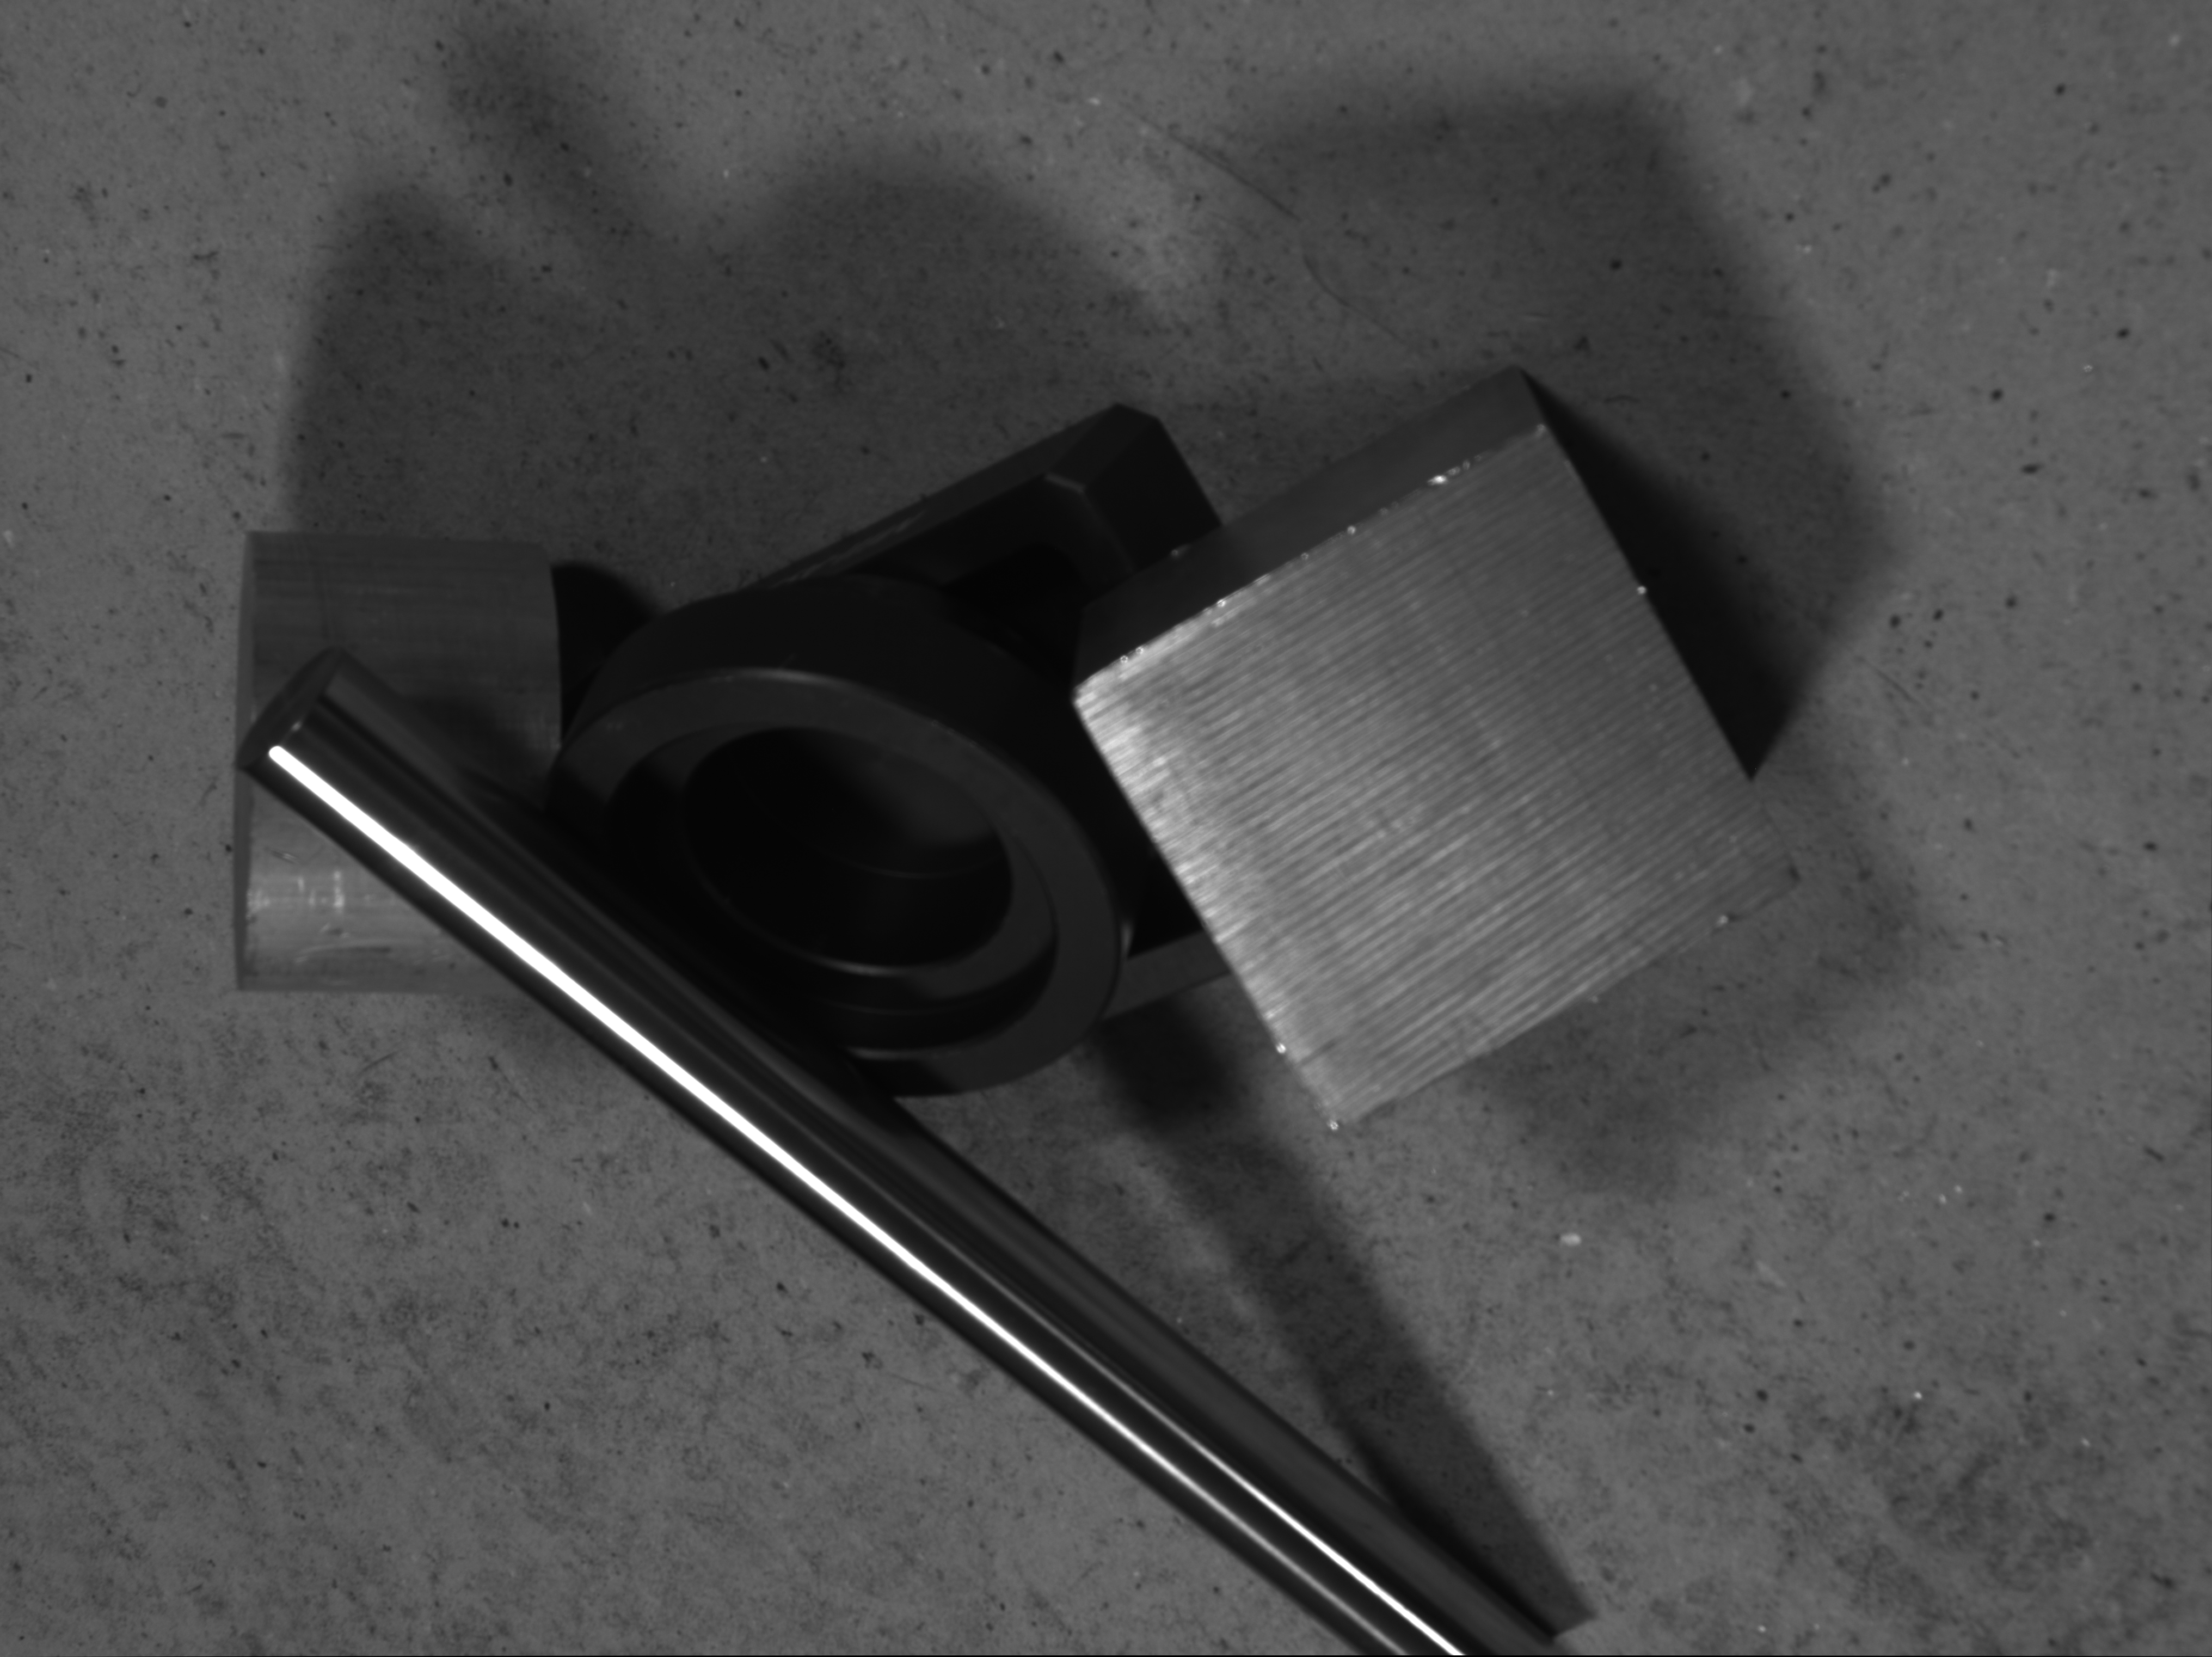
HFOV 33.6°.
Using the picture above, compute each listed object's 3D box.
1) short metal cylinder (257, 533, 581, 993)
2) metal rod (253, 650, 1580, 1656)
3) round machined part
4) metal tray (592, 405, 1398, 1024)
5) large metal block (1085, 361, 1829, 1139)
[{"bbox_3d":[-0.122,-0.011,0.643,0.050,0.080,0.080,1,126,-15],"label":"short metal cylinder"},{"bbox_3d":[-0.022,0.074,0.631,0.025,0.025,0.301,-30,119,36],"label":"metal rod"},{"bbox_3d":[-0.037,-0.003,0.607,0.098,0.042,0.098,11,136,11],"label":"round machined part"},{"bbox_3d":[-0.023,-0.007,0.635,0.130,0.030,0.090,-22,107,35],"label":"metal tray"},{"bbox_3d":[0.052,-0.013,0.560,0.080,0.050,0.080,-29,104,10],"label":"large metal block"}]
